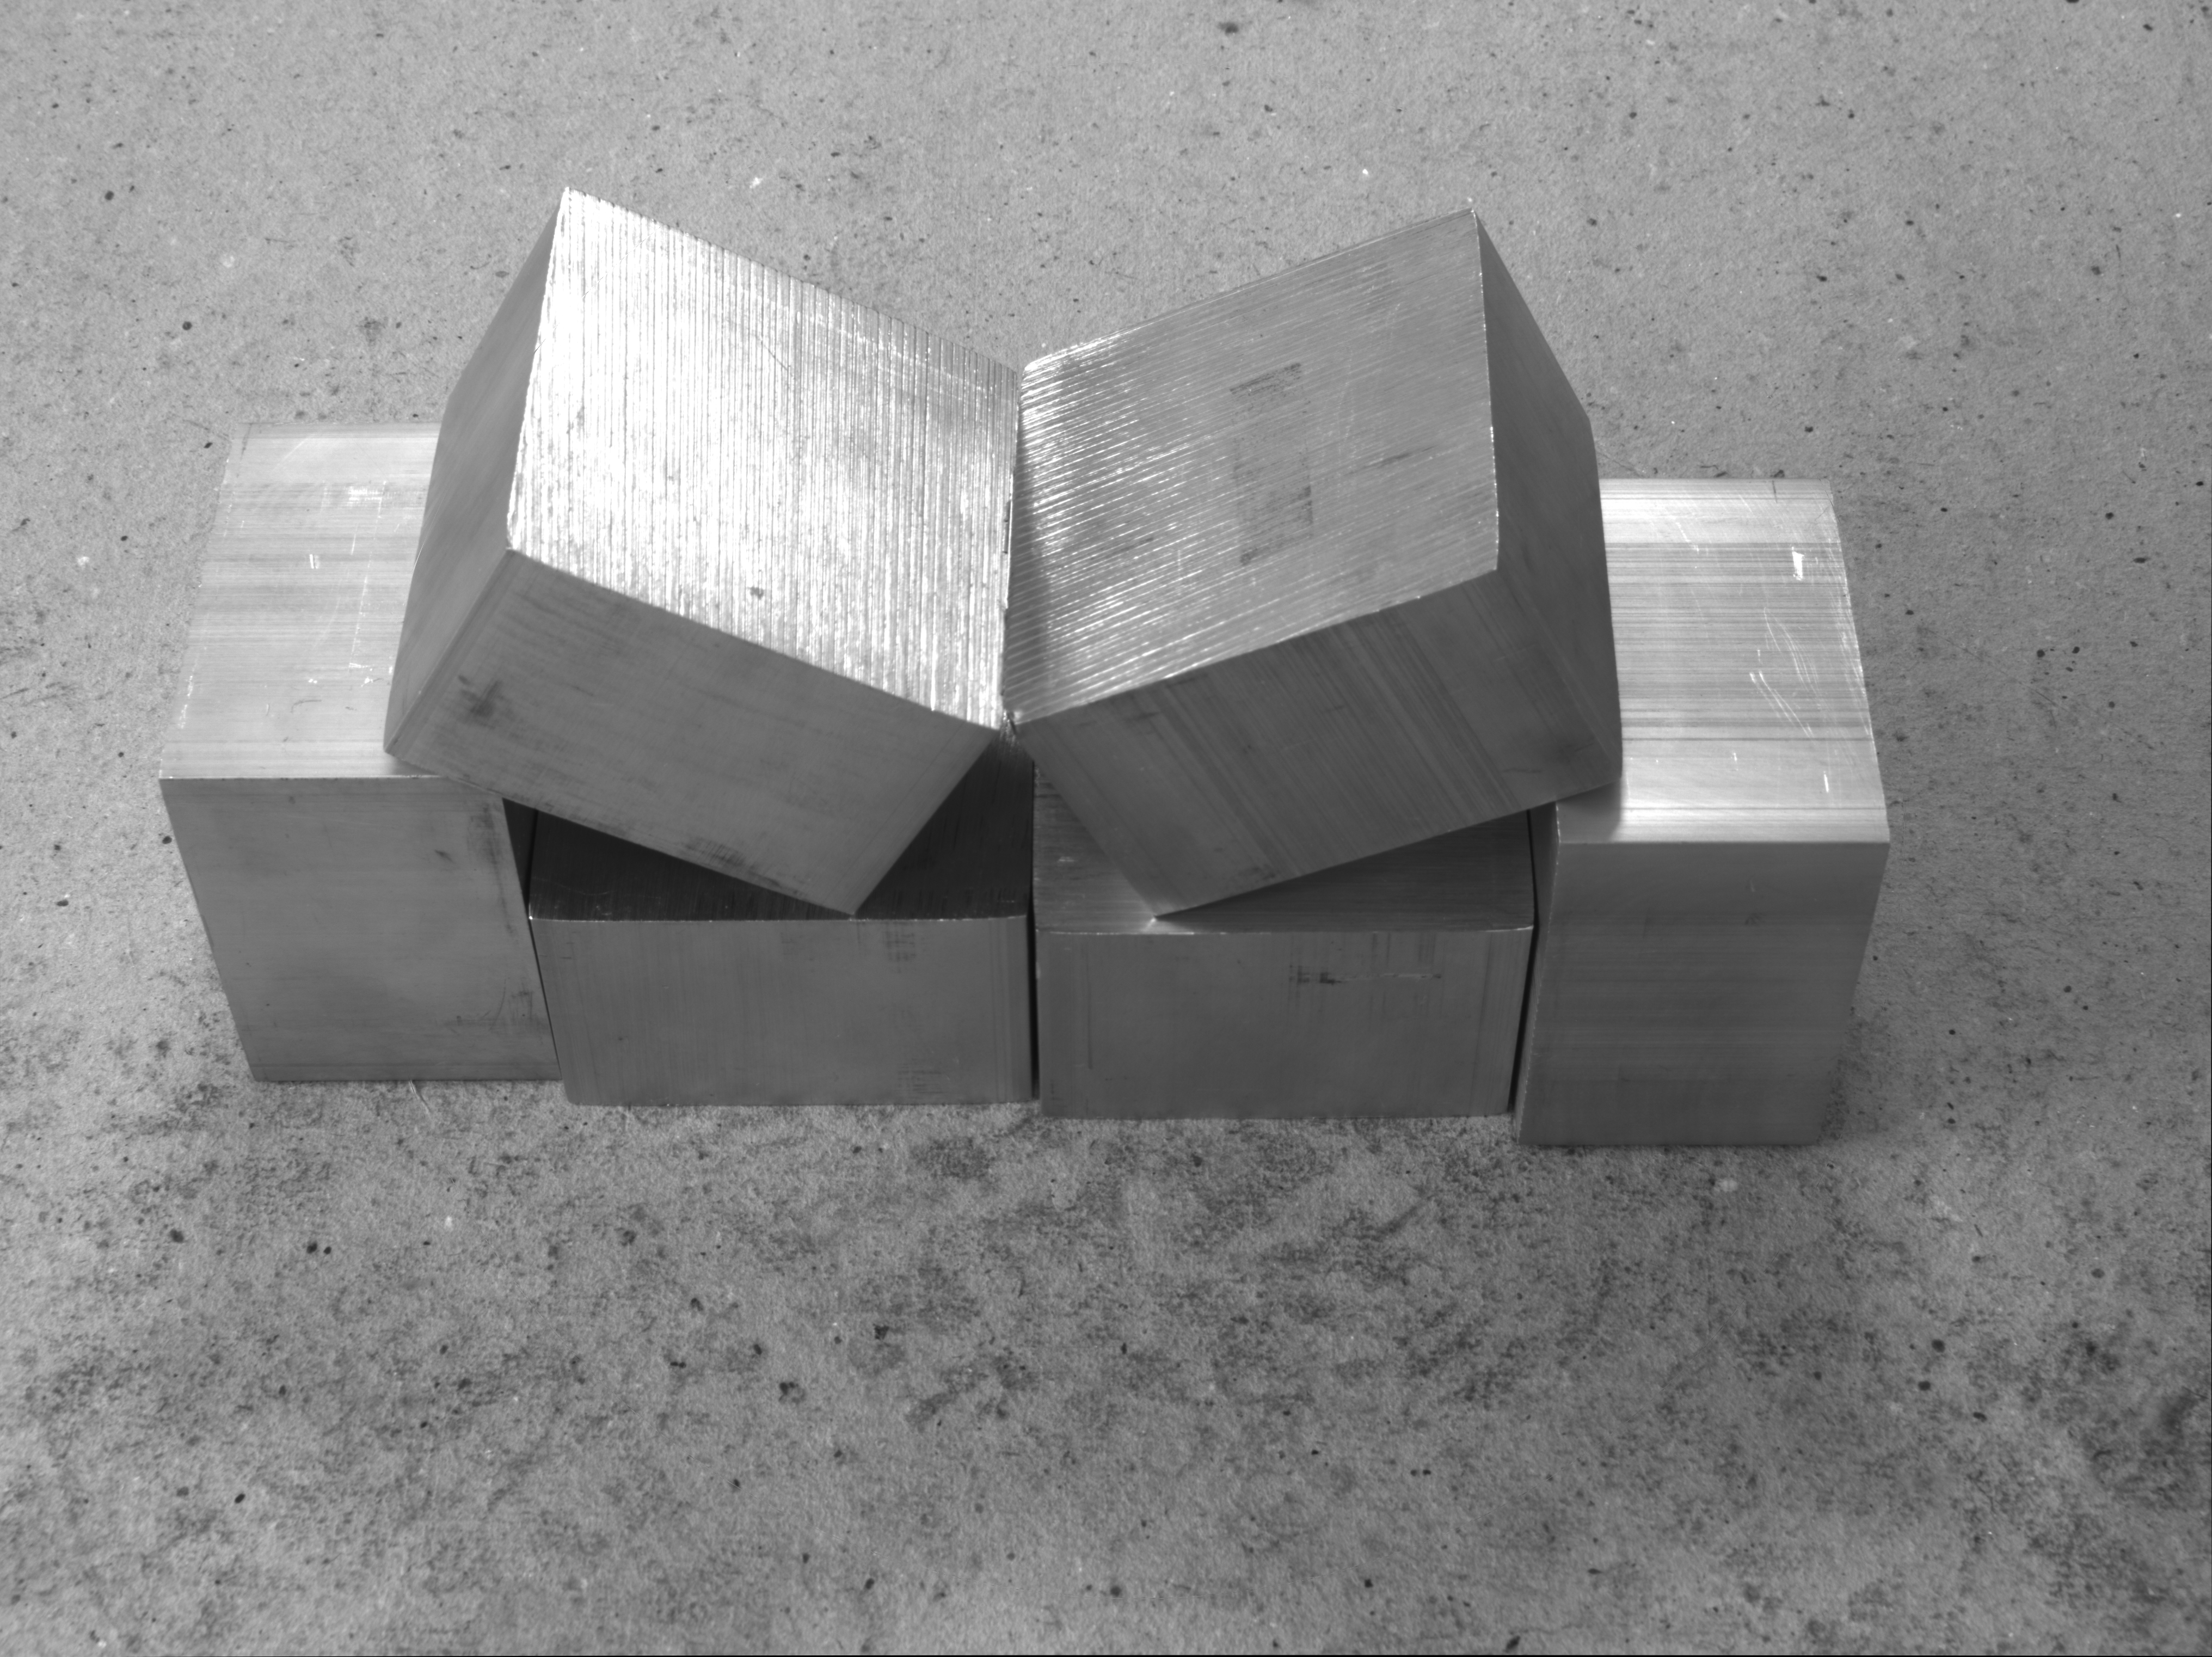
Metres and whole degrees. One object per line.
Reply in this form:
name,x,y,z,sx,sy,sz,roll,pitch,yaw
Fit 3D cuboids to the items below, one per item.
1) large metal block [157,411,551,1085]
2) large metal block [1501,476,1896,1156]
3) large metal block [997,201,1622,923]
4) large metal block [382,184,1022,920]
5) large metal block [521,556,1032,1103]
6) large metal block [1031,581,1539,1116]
large metal block,-0.119,-0.013,0.616,0.050,0.080,0.080,-1,49,0
large metal block,0.094,-0.002,0.609,0.050,0.080,0.080,0,50,0
large metal block,0.032,-0.041,0.575,0.080,0.050,0.080,-17,46,21
large metal block,-0.061,-0.043,0.575,0.080,0.050,0.080,20,46,-21
large metal block,-0.052,0.000,0.625,0.080,0.050,0.080,0,50,0
large metal block,0.029,0.002,0.623,0.080,0.050,0.080,0,50,0
